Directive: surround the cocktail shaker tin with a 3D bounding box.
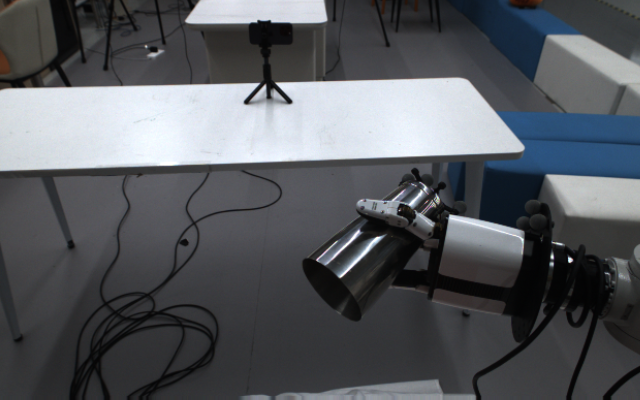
[{"bbox_3d":[0.072,0.047,0.575,0.170,0.093,0.093,-38,49,-24],"label":"cocktail shaker tin"}]
